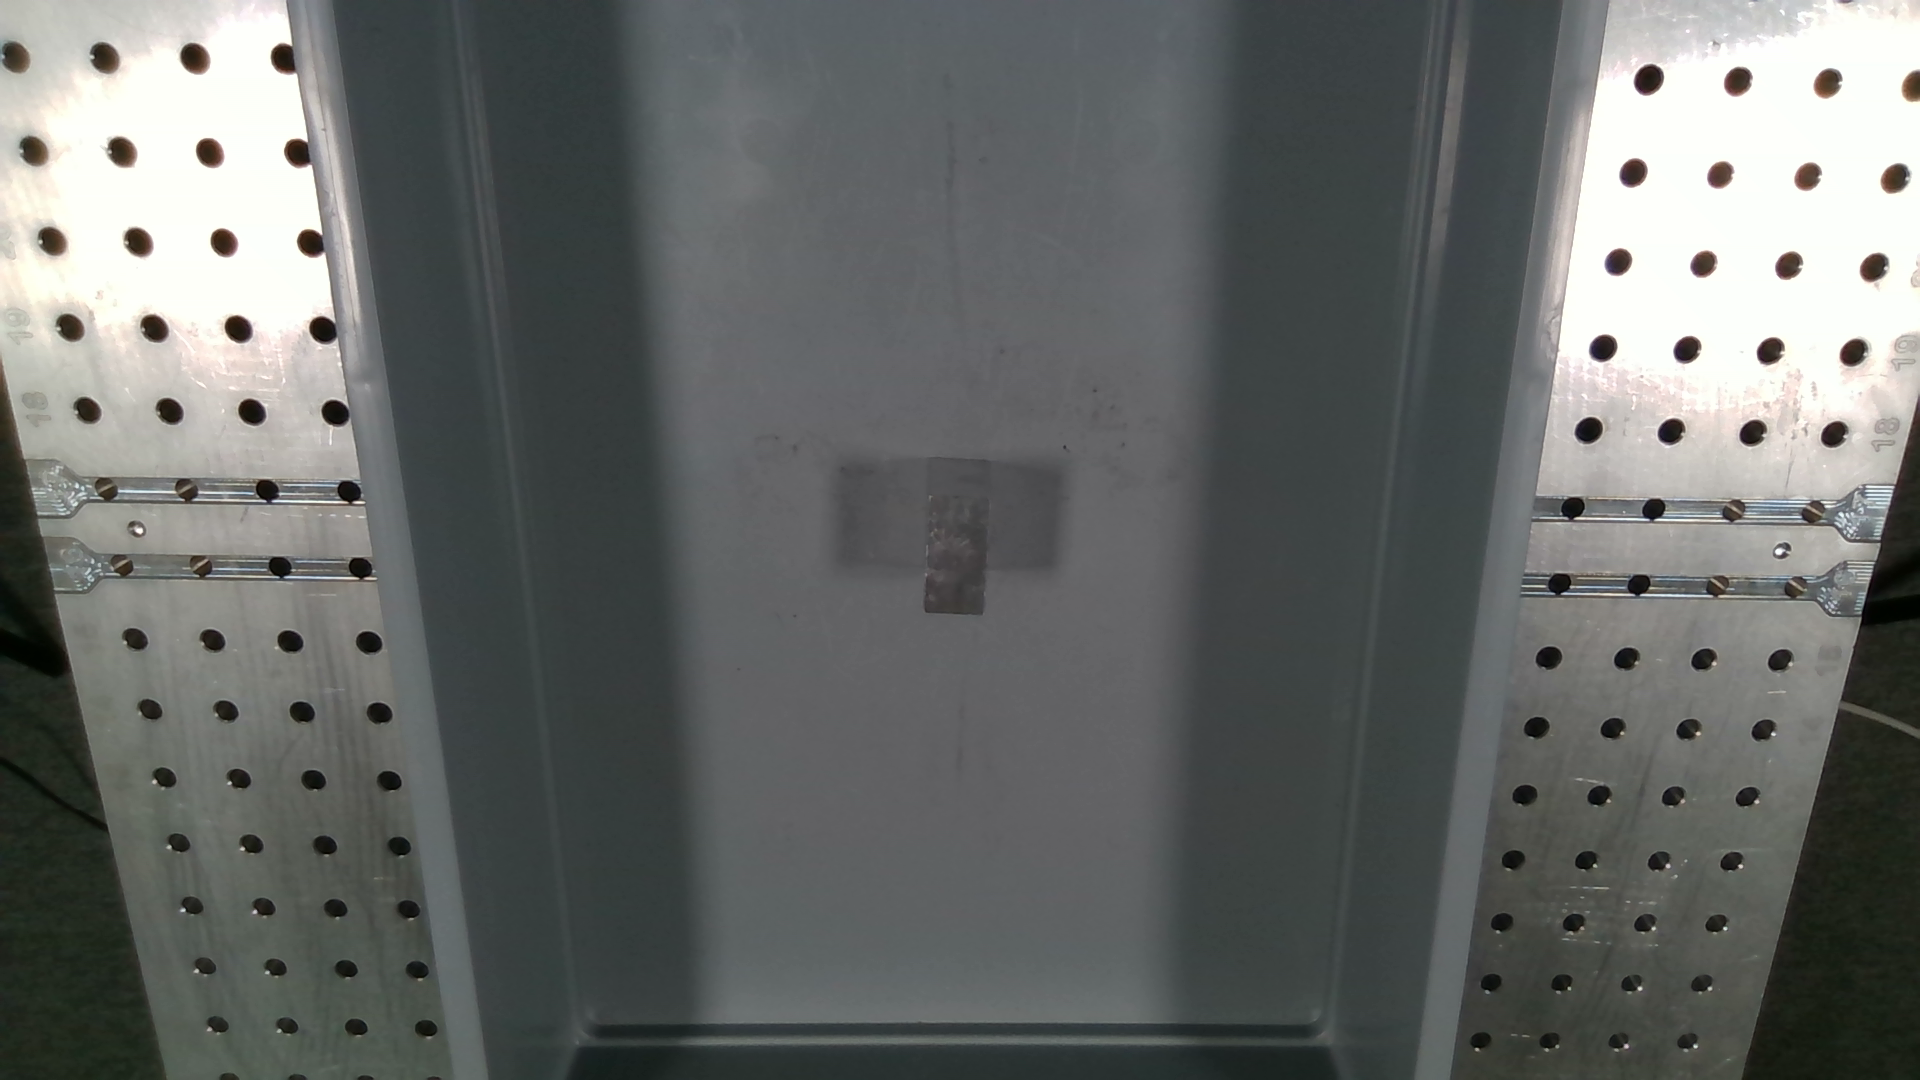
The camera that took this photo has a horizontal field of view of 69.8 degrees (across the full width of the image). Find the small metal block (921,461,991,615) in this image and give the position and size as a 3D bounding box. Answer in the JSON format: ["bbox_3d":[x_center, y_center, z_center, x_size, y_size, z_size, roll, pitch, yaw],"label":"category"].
[{"bbox_3d":[-0.002,-0.002,0.567,0.025,0.050,0.050,3,110,-1],"label":"small metal block"}]
